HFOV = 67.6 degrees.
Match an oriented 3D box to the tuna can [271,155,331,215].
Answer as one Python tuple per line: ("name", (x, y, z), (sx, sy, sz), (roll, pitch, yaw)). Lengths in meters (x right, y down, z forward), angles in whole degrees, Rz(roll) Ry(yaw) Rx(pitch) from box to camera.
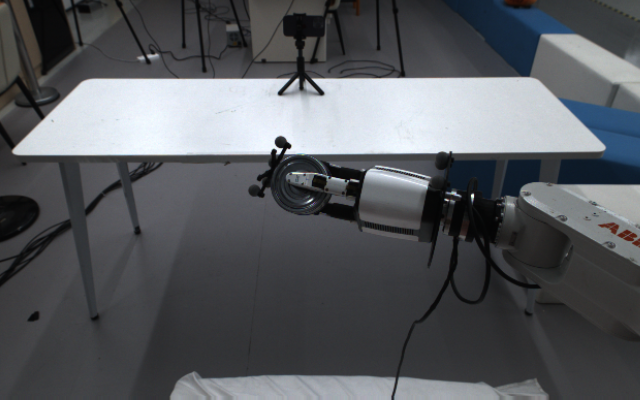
("tuna can", (-0.023, -0.018, 0.684), (0.085, 0.085, 0.034), (9, -4, 10))
